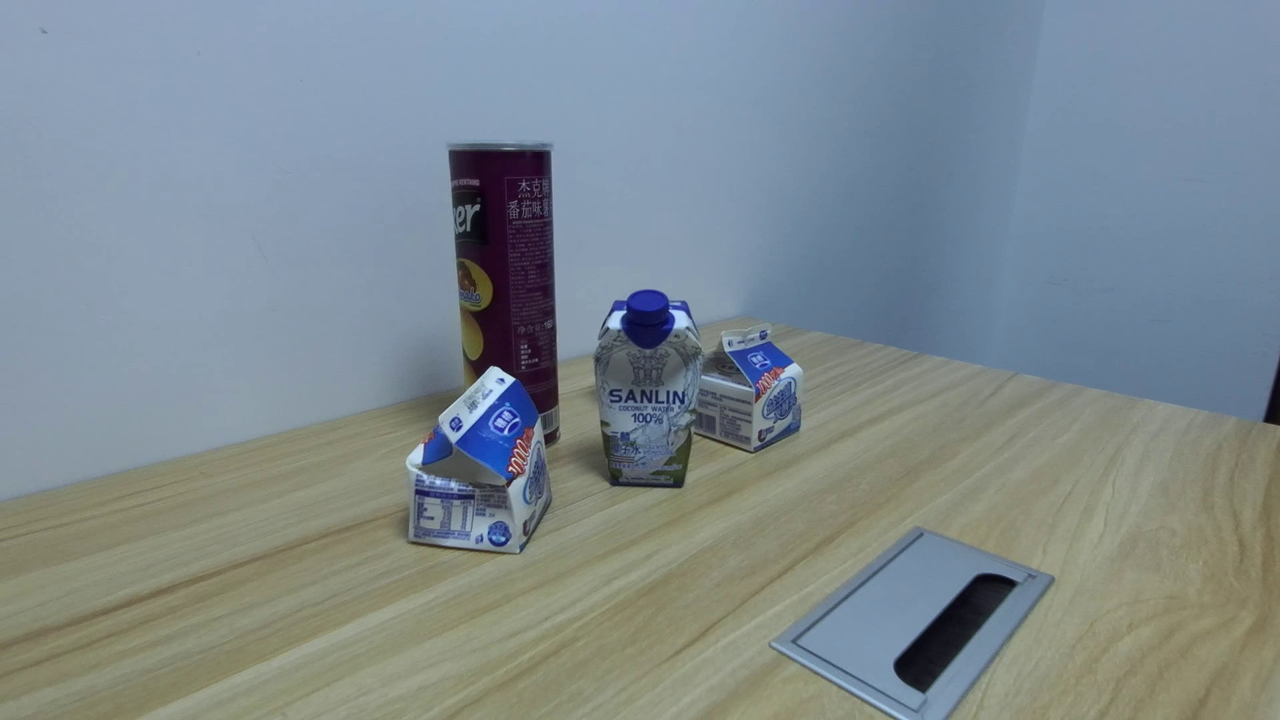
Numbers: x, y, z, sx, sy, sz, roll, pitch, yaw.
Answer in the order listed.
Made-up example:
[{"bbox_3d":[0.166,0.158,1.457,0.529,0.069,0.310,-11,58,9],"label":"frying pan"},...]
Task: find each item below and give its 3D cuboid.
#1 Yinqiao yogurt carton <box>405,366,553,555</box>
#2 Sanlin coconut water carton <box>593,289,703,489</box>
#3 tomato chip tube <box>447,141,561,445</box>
[{"bbox_3d":[-0.100,0.058,0.449,0.077,0.093,0.083,3,17,9],"label":"Yinqiao yogurt carton"},{"bbox_3d":[0.006,0.018,0.502,0.078,0.142,0.057,1,22,3],"label":"Sanlin coconut water carton"},{"bbox_3d":[-0.103,-0.047,0.558,0.078,0.234,0.078,0,16,0],"label":"tomato chip tube"}]
